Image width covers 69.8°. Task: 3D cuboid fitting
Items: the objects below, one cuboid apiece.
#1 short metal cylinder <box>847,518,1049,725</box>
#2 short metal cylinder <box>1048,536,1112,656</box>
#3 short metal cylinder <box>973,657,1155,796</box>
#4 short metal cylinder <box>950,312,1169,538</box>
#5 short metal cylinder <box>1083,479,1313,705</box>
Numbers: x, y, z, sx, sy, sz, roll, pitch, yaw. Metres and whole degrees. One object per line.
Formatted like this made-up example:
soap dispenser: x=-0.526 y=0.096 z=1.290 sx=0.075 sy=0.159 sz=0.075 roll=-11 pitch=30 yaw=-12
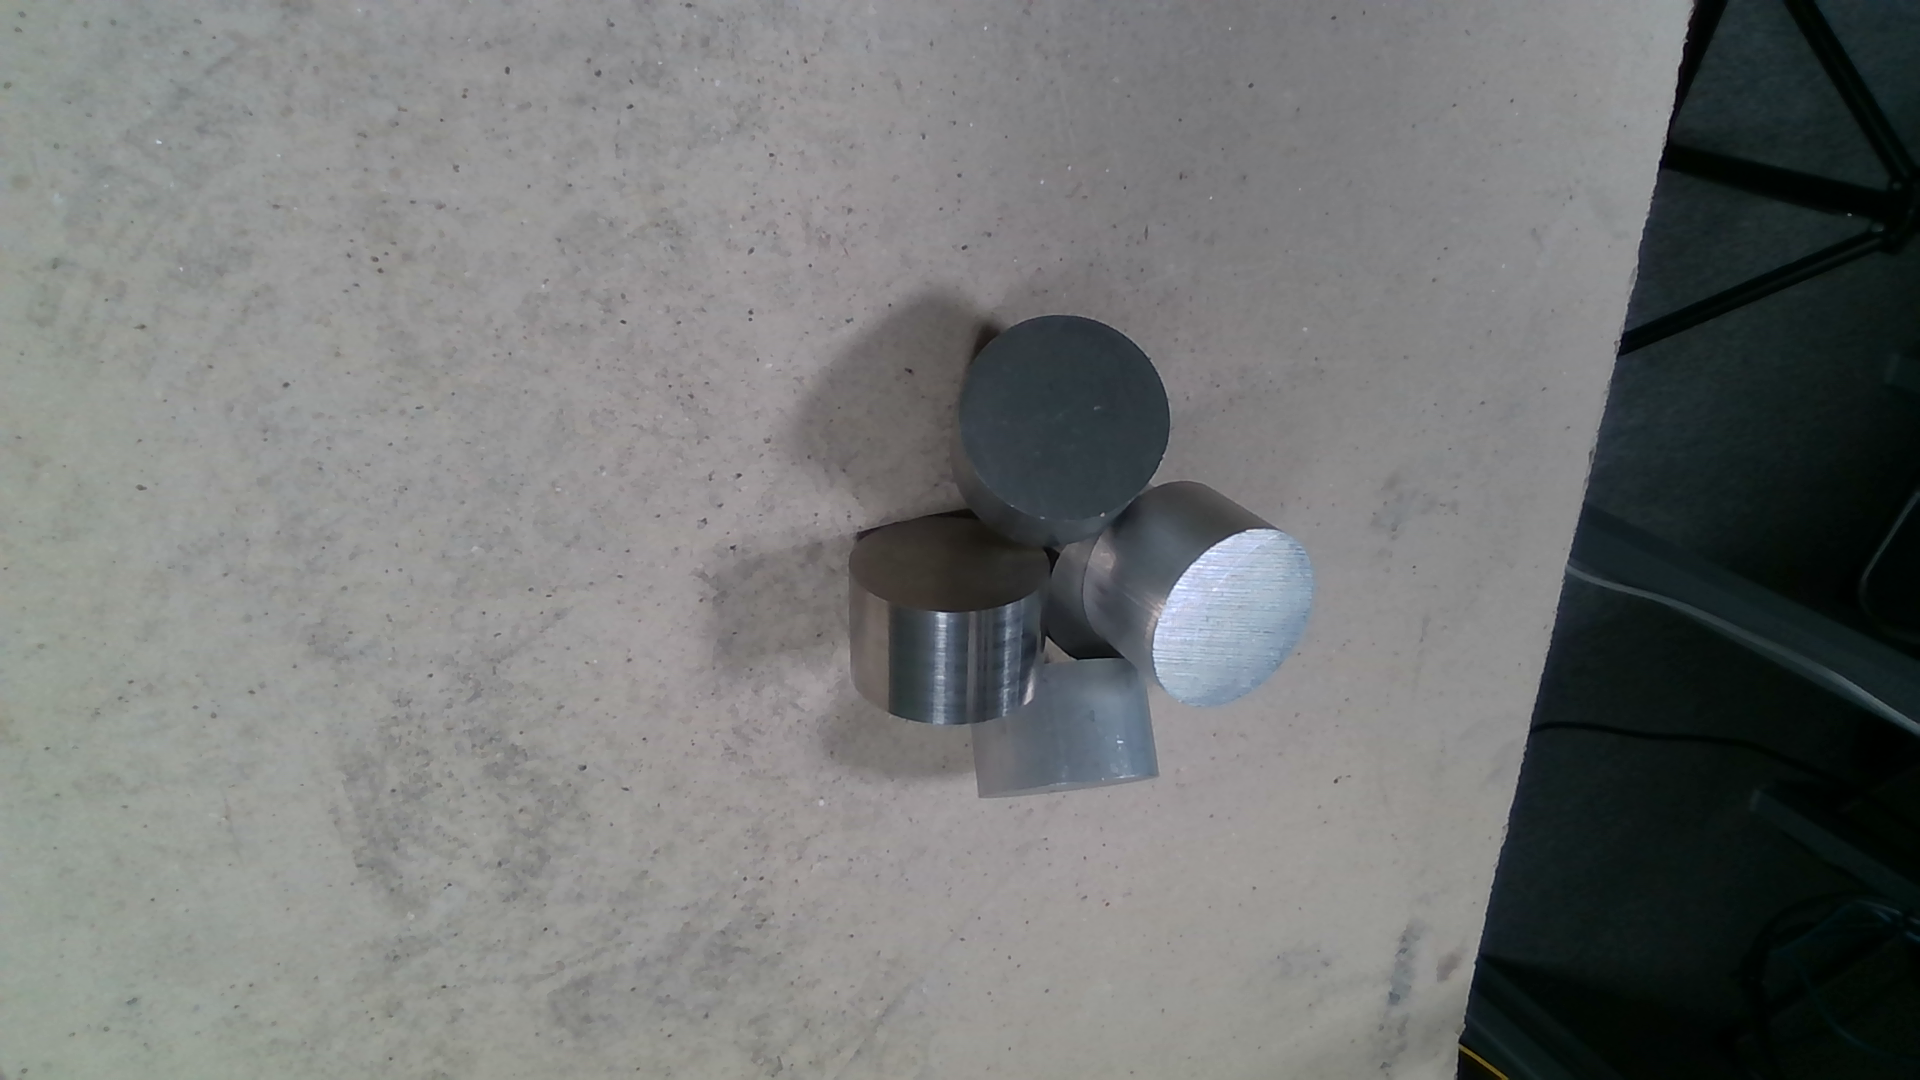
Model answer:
short metal cylinder: x=-0.005 y=0.031 z=0.558 sx=0.080 sy=0.080 sz=0.050 roll=-13 pitch=121 yaw=-26
short metal cylinder: x=0.058 y=0.006 z=0.604 sx=0.080 sy=0.050 sz=0.080 roll=-14 pitch=122 yaw=-25
short metal cylinder: x=0.044 y=0.084 z=0.610 sx=0.080 sy=0.080 sz=0.050 roll=1 pitch=75 yaw=-32
short metal cylinder: x=0.037 y=-0.042 z=0.539 sx=0.080 sy=0.050 sz=0.080 roll=1 pitch=79 yaw=-5
short metal cylinder: x=0.098 y=0.021 z=0.571 sx=0.080 sy=0.050 sz=0.080 roll=-14 pitch=122 yaw=-25
